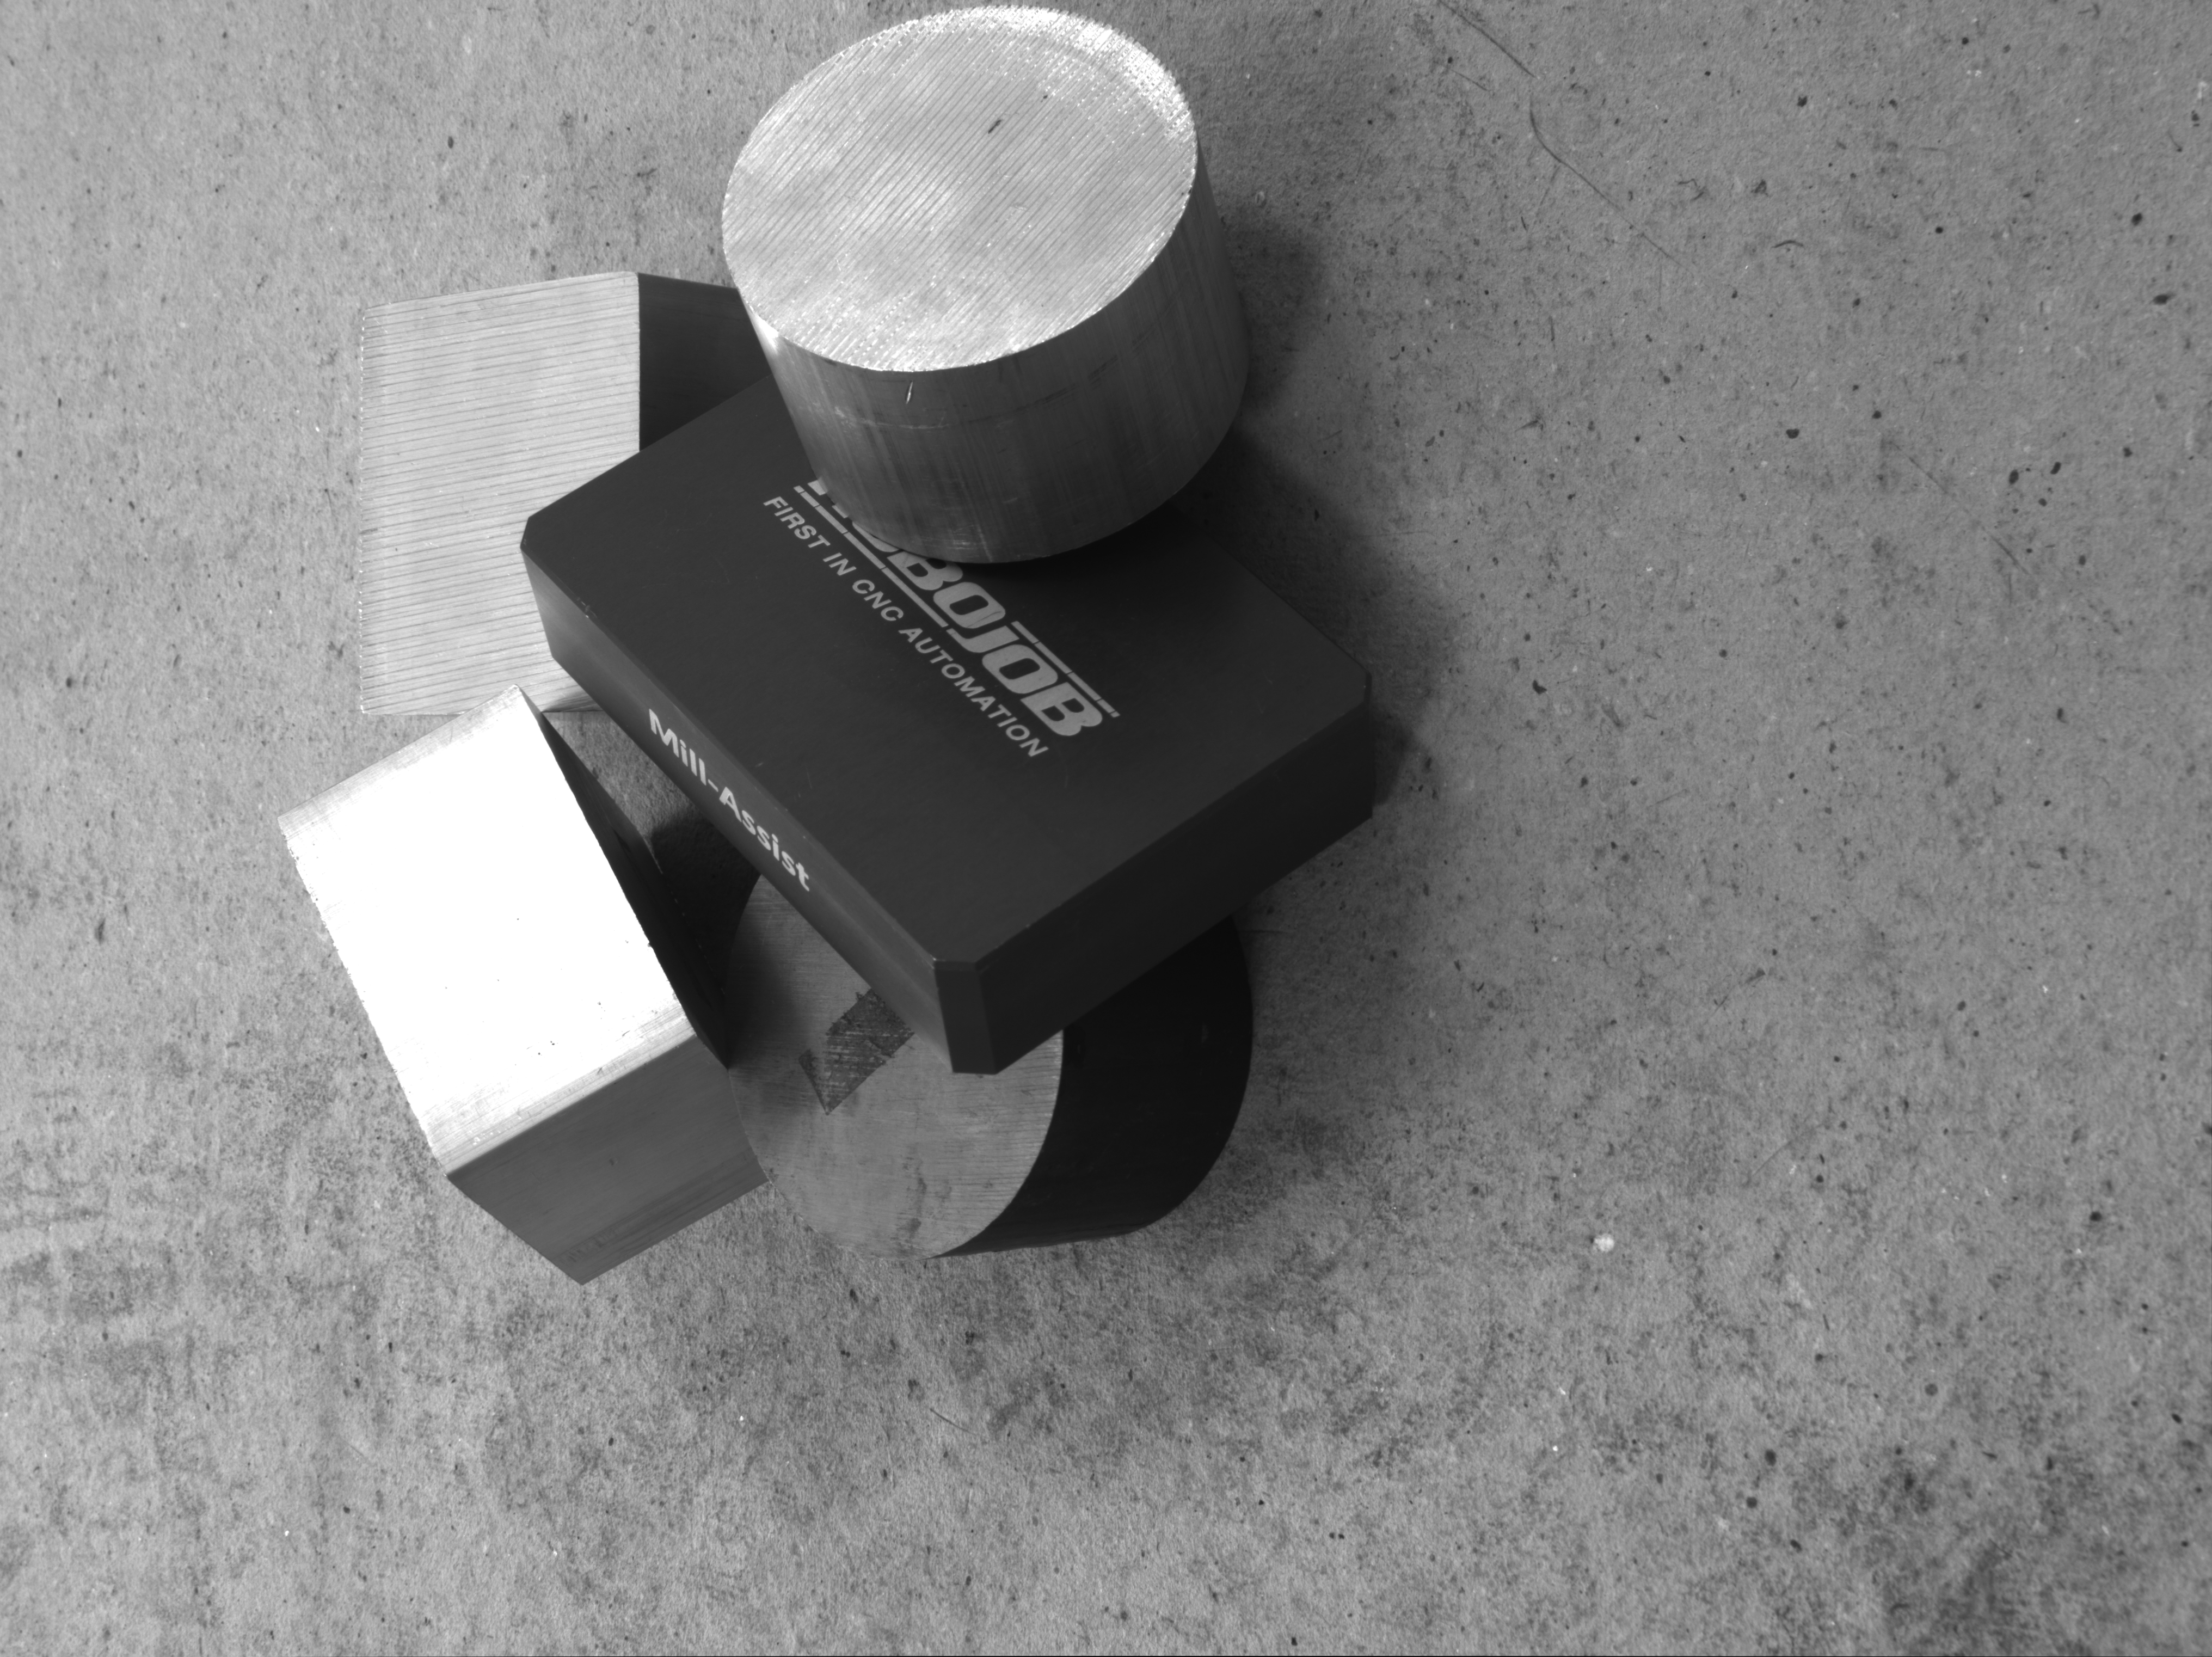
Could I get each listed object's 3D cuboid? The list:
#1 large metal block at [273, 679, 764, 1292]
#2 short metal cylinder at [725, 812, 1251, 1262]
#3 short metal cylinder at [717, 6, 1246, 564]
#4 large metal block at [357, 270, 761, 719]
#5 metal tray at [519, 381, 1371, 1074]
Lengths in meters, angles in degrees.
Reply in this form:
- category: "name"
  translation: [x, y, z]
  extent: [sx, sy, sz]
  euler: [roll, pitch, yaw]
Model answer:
- category: "large metal block"
  translation: [-0.104, 0.031, 0.688]
  extent: [0.050, 0.080, 0.080]
  euler: [-29, 67, -2]
- category: "short metal cylinder"
  translation: [-0.021, 0.034, 0.648]
  extent: [0.080, 0.050, 0.080]
  euler: [0, 90, 40]
- category: "short metal cylinder"
  translation: [-0.020, -0.092, 0.620]
  extent: [0.080, 0.050, 0.080]
  euler: [-6, 56, 10]
- category: "large metal block"
  translation: [-0.099, -0.062, 0.711]
  extent: [0.080, 0.050, 0.080]
  euler: [1, 91, 40]
- category: "metal tray"
  translation: [-0.028, -0.028, 0.628]
  extent: [0.130, 0.090, 0.030]
  euler: [43, 156, 32]
